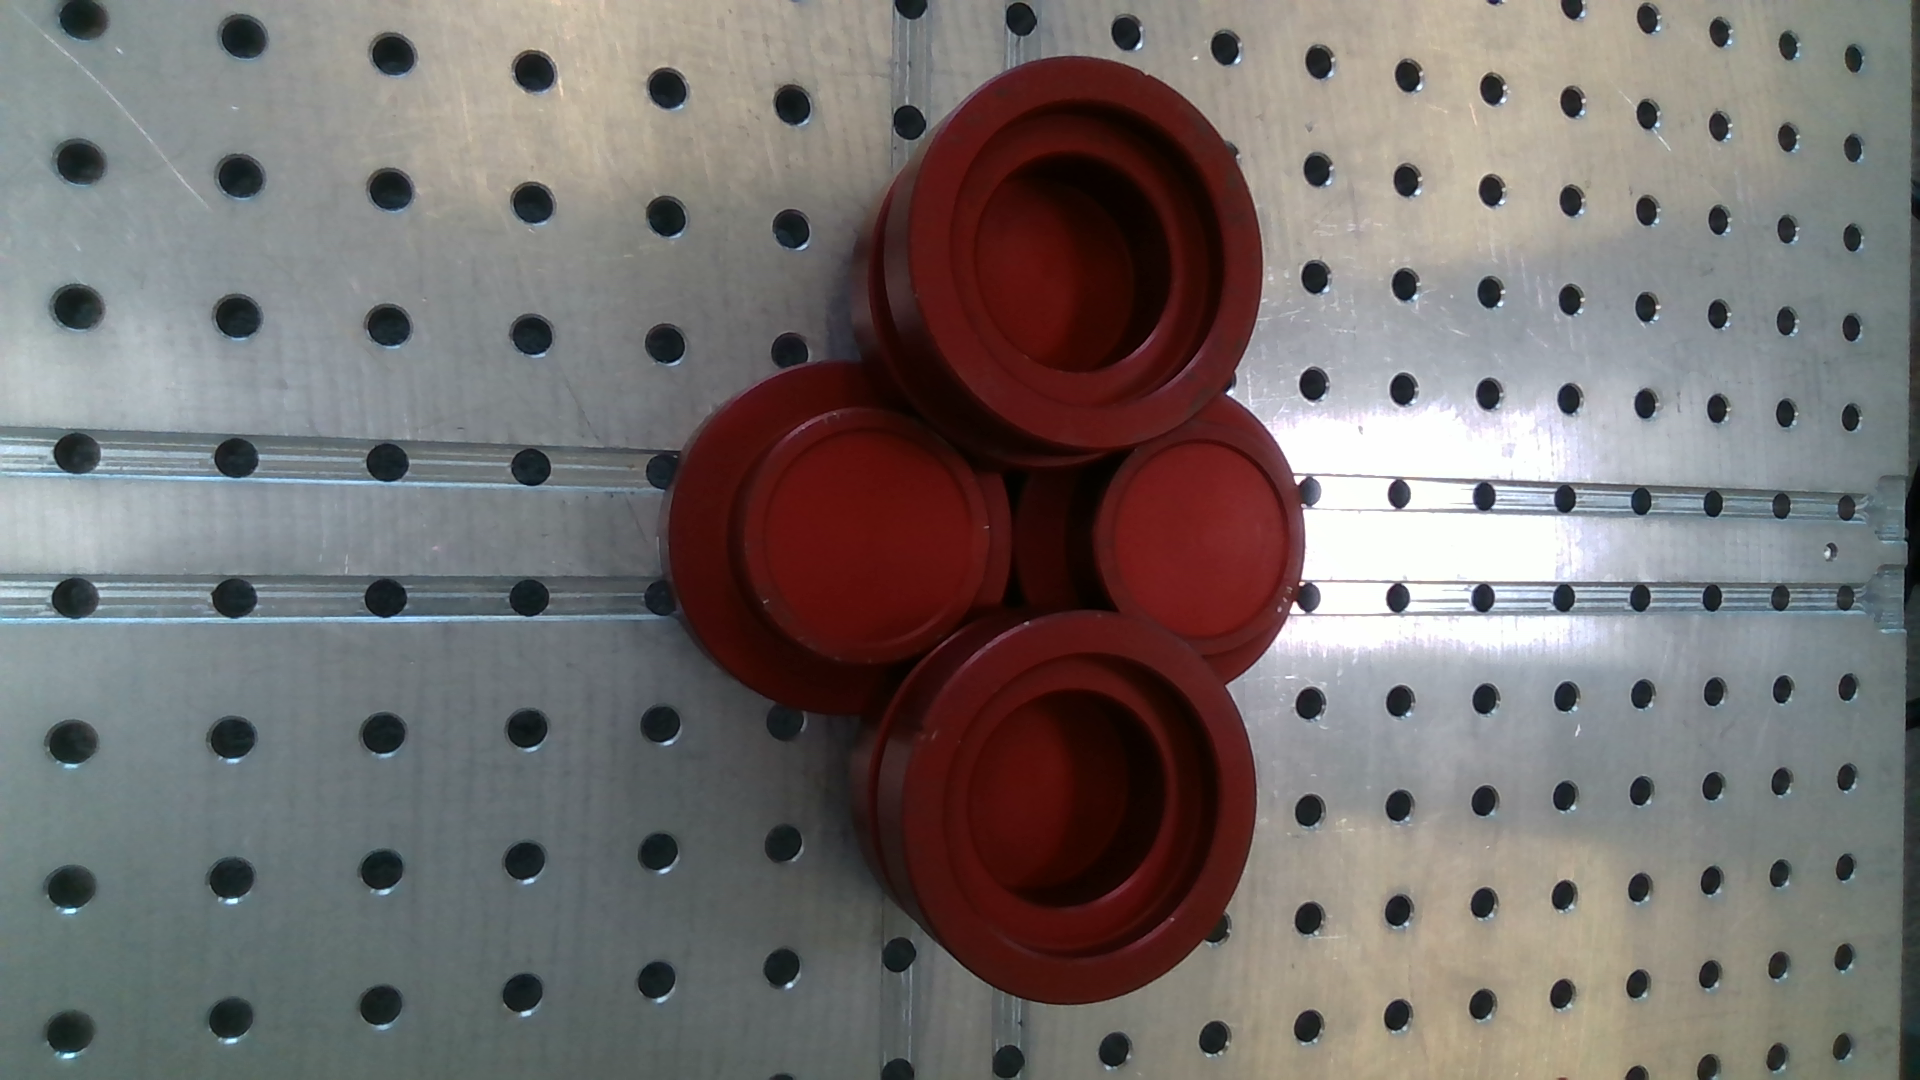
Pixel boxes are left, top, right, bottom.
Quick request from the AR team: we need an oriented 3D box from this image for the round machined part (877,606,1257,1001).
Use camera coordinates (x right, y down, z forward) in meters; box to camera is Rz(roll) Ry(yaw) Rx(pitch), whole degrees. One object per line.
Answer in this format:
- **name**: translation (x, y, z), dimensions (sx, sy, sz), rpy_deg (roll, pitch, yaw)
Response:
- **round machined part**: translation (0.025, 0.066, 0.362), dimensions (0.098, 0.042, 0.098), rpy_deg (0, 90, -20)

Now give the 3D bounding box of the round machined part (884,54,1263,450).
- **round machined part**: translation (0.027, -0.072, 0.362), dimensions (0.098, 0.042, 0.098), rpy_deg (0, 90, -20)

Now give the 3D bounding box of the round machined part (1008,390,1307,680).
- **round machined part**: translation (0.062, -0.002, 0.410), dimensions (0.098, 0.042, 0.098), rpy_deg (0, 90, -20)

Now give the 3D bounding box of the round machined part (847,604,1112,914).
- **round machined part**: translation (0.015, 0.066, 0.392), dimensions (0.098, 0.042, 0.098), rpy_deg (0, 90, -20)

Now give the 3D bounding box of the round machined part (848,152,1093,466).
- **round machined part**: translation (0.015, -0.069, 0.392), dimensions (0.098, 0.042, 0.098), rpy_deg (0, 90, -20)

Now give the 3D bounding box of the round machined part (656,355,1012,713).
- **round machined part**: translation (-0.031, -0.002, 0.375), dimensions (0.098, 0.042, 0.098), rpy_deg (0, 90, -20)
